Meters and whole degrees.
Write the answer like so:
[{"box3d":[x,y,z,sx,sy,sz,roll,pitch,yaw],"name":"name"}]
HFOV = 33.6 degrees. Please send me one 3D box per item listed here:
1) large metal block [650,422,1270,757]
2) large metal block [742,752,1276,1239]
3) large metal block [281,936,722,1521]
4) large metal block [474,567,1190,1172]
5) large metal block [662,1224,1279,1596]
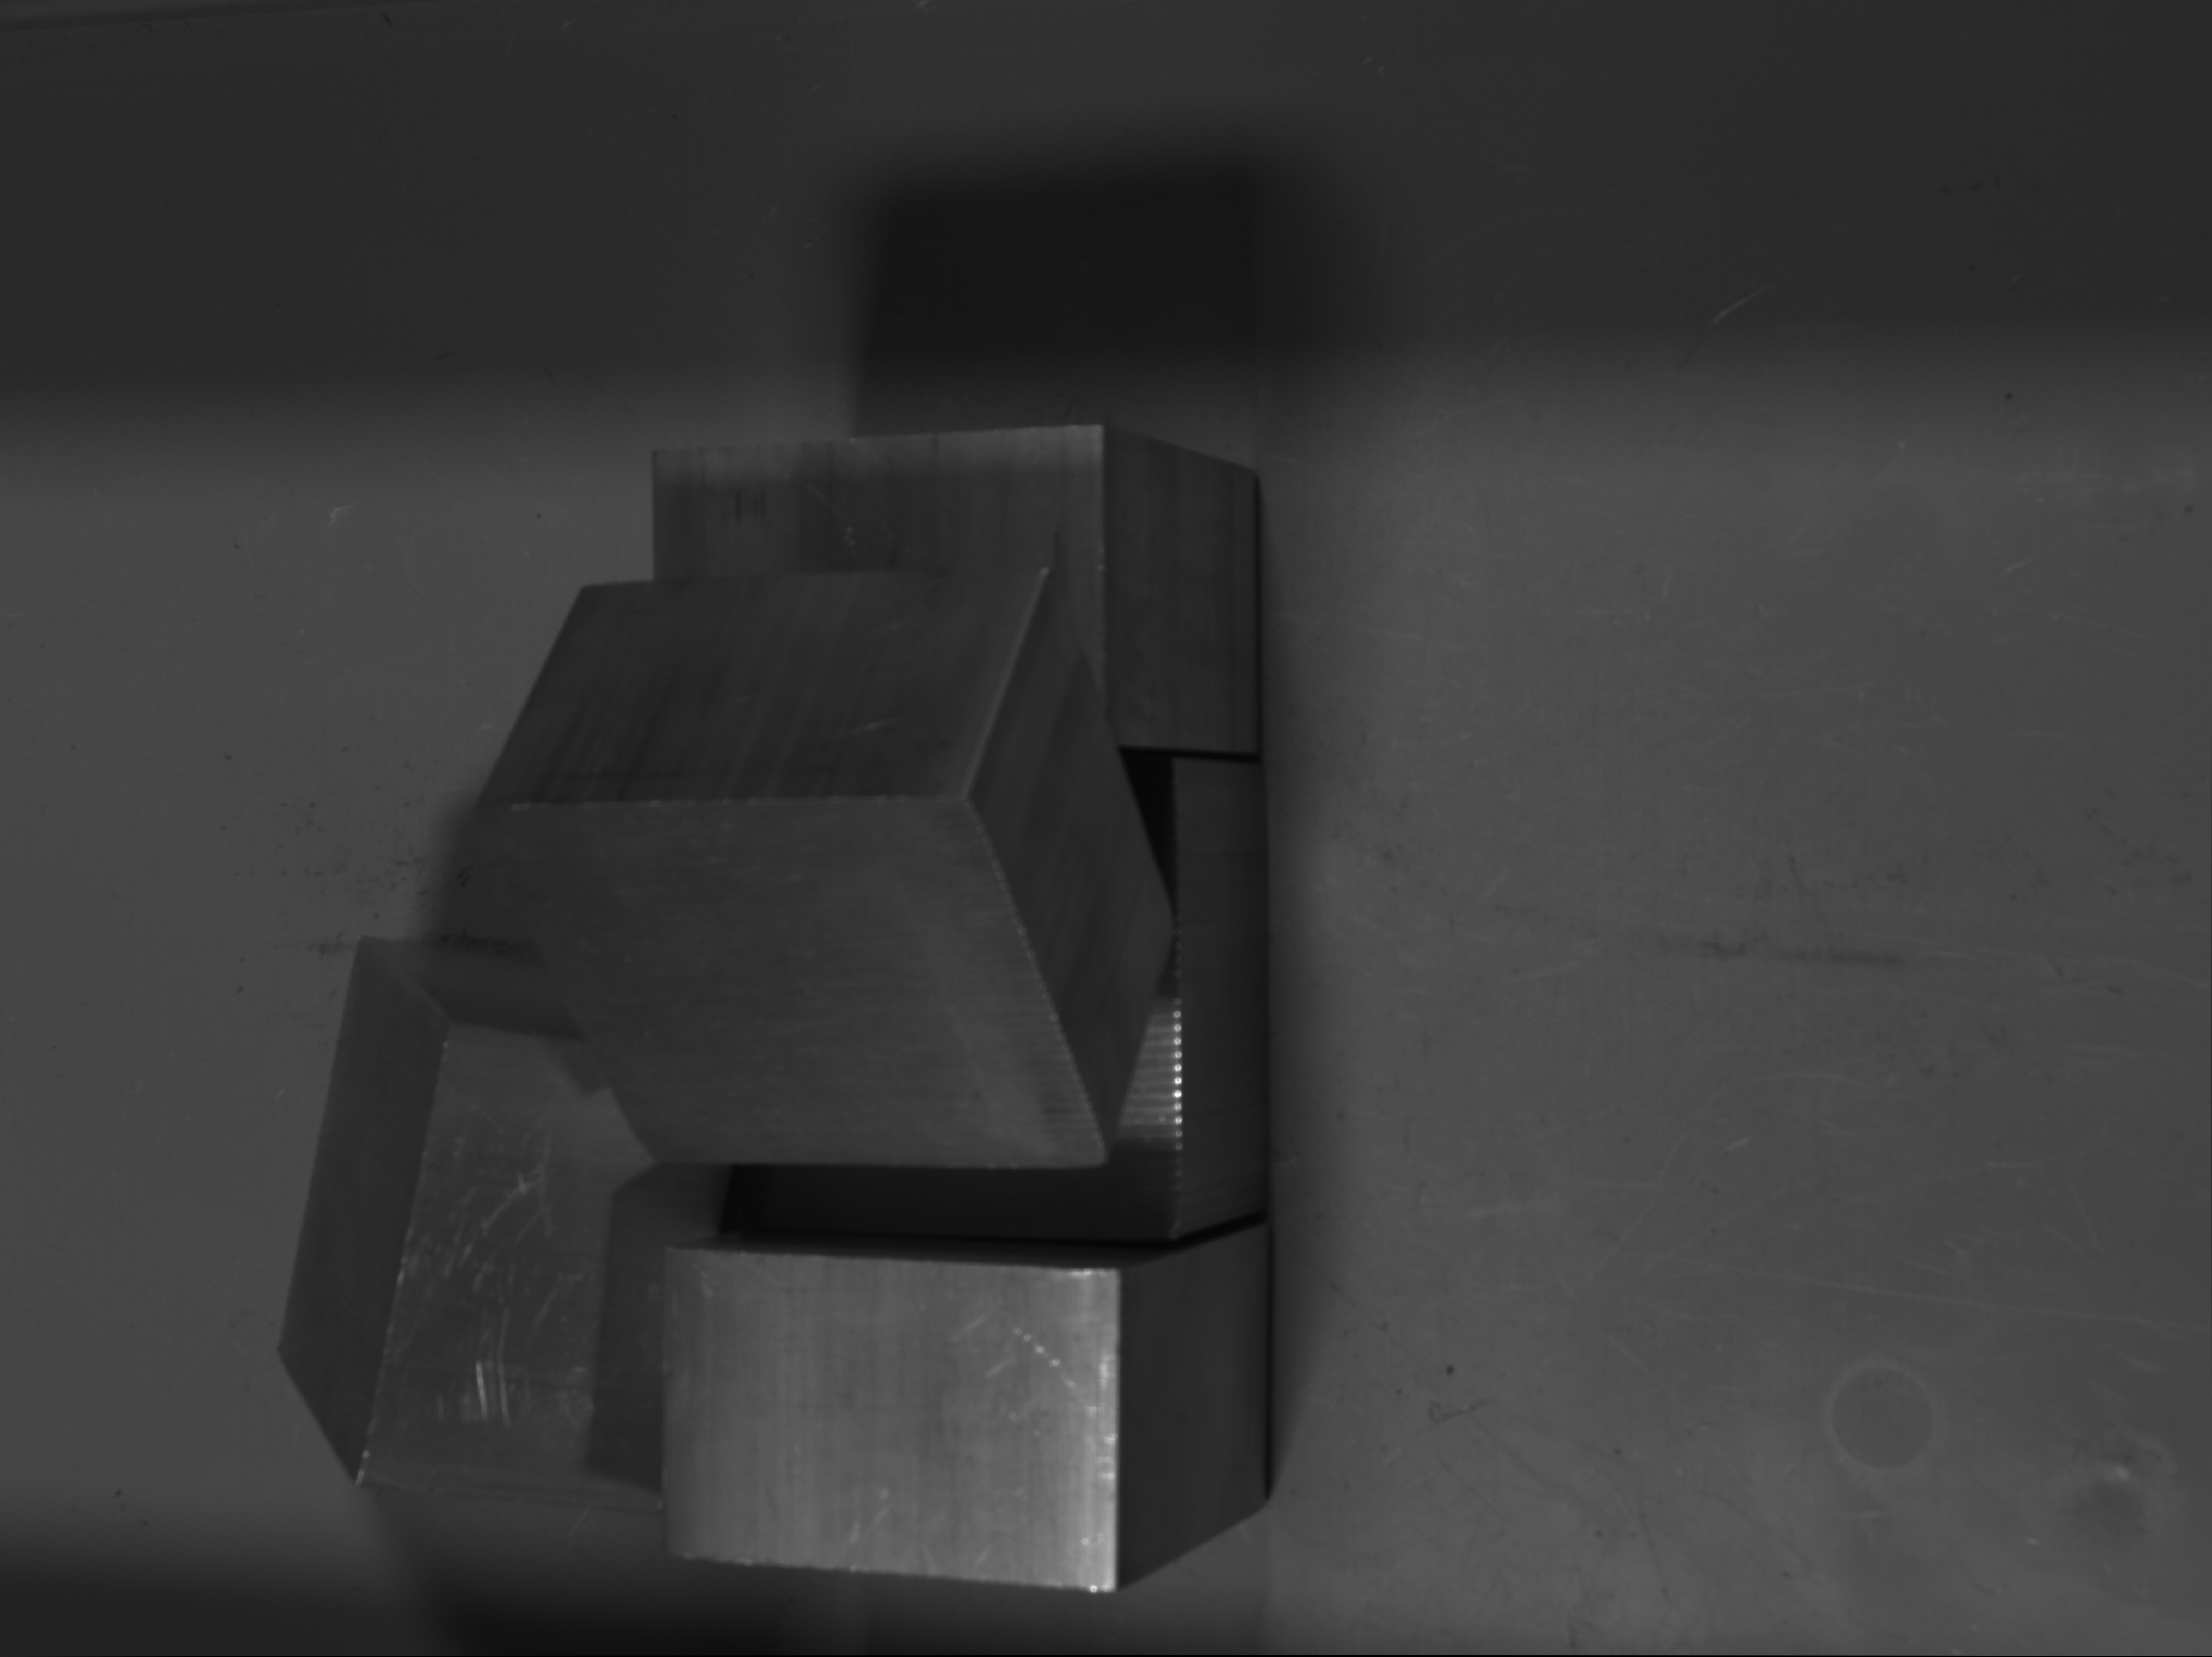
[{"box3d":[-0.023,-0.037,0.621,0.080,0.080,0.050,-1,89,20],"name":"large metal block"},{"box3d":[-0.017,0.028,0.637,0.080,0.050,0.080,-1,90,20],"name":"large metal block"},{"box3d":[-0.106,0.068,0.643,0.050,0.080,0.080,10,95,-23],"name":"large metal block"},{"box3d":[-0.040,0.008,0.568,0.080,0.080,0.050,-1,45,20],"name":"large metal block"},{"box3d":[-0.021,0.094,0.620,0.080,0.080,0.050,0,90,20],"name":"large metal block"}]
